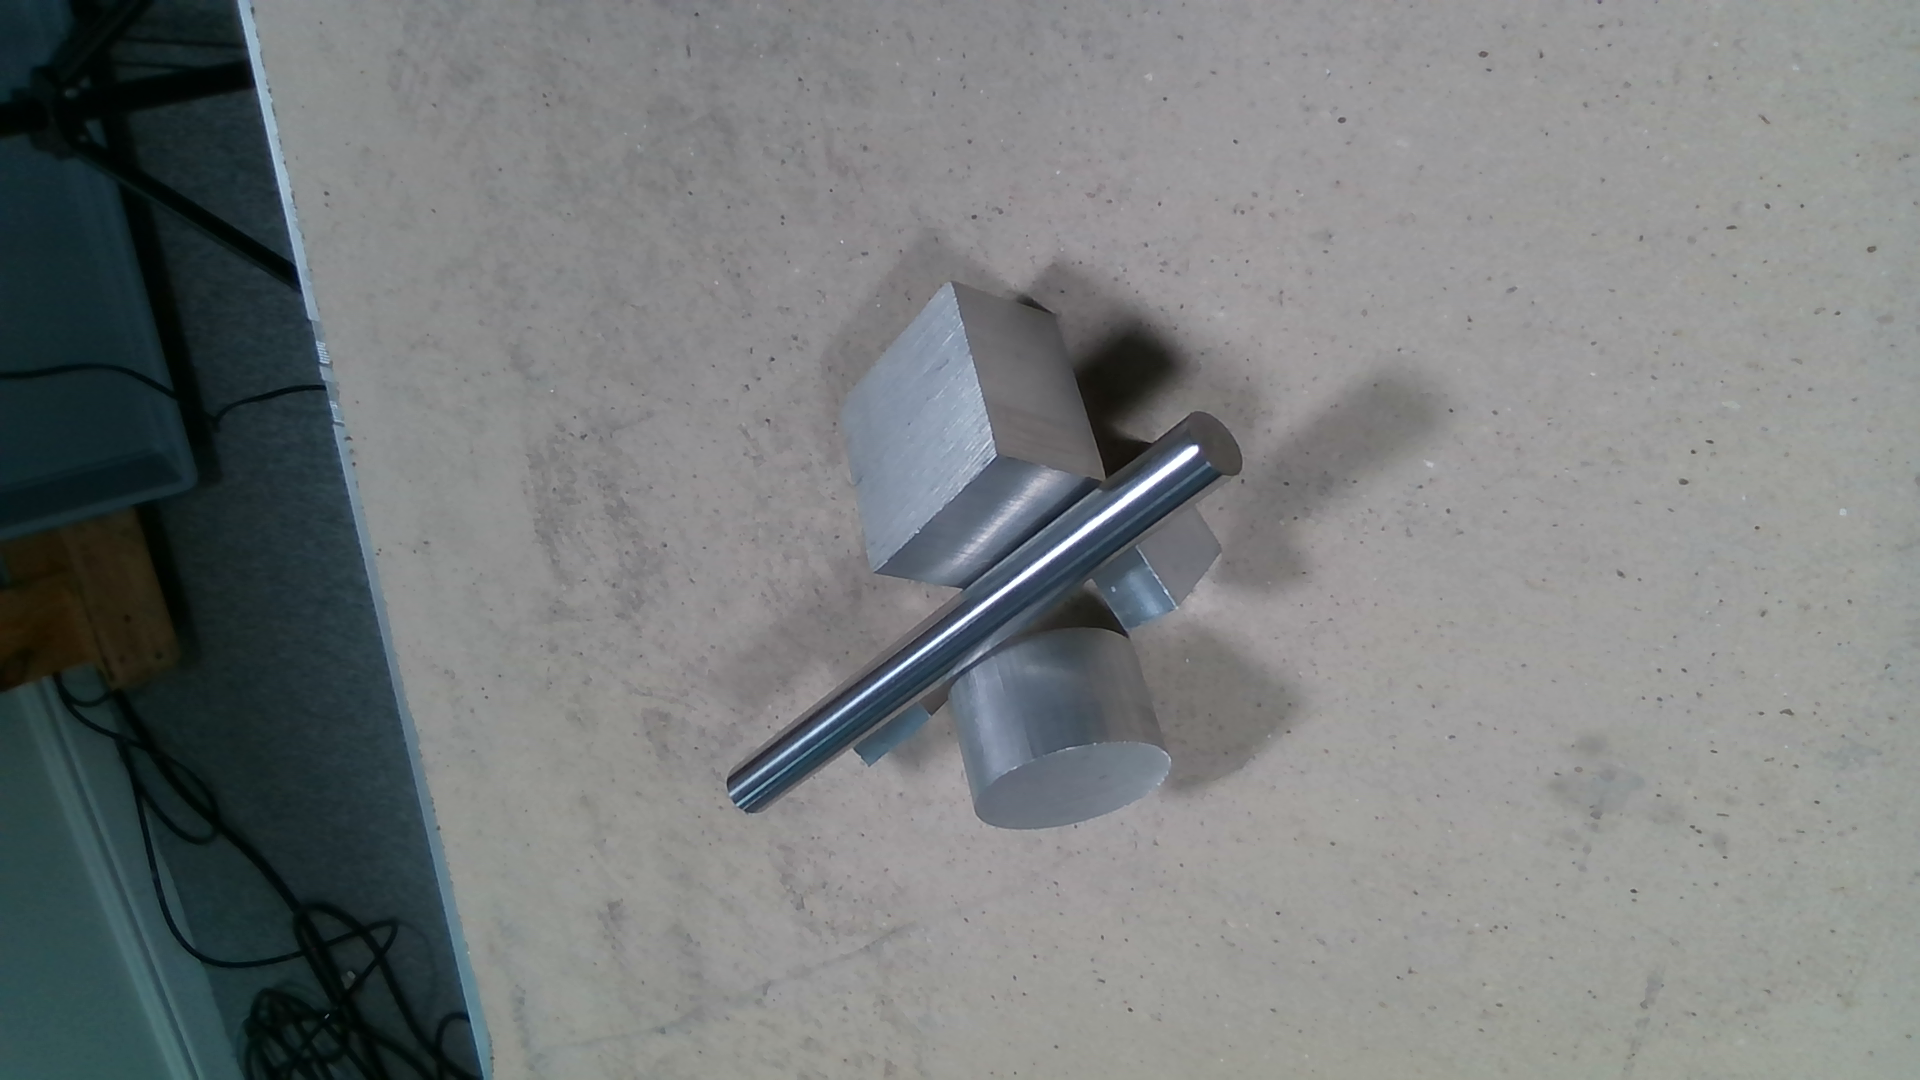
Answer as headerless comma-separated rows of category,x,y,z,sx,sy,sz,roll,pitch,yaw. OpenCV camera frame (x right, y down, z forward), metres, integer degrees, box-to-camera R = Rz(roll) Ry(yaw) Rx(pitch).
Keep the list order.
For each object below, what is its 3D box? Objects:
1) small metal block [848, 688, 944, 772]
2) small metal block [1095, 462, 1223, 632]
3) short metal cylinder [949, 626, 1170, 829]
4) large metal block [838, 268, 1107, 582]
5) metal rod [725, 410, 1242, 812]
small metal block,-0.024,0.070,0.614,0.025,0.050,0.050,48,129,0
small metal block,0.068,-0.002,0.522,0.025,0.050,0.050,-29,98,39
short metal cylinder,0.039,0.077,0.555,0.080,0.080,0.050,-45,47,39
large metal block,0.002,-0.040,0.518,0.080,0.050,0.080,-43,49,40
metal rod,-0.007,0.041,0.543,0.025,0.025,0.301,50,129,-1
